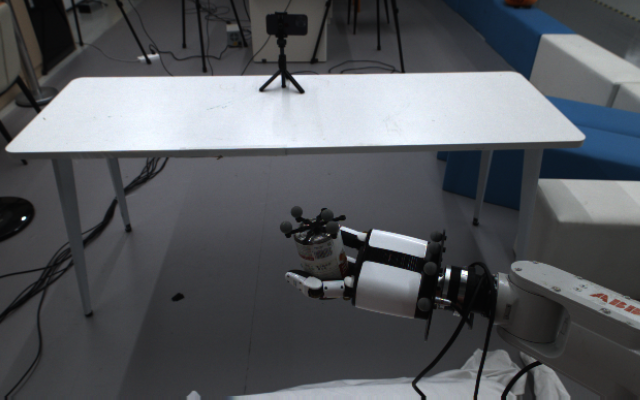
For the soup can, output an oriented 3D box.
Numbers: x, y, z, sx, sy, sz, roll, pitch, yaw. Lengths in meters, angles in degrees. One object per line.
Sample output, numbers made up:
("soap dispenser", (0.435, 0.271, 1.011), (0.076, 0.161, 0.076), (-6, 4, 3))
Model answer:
("soup can", (0.006, 0.085, 0.698), (0.067, 0.101, 0.067), (-11, 26, 5))
